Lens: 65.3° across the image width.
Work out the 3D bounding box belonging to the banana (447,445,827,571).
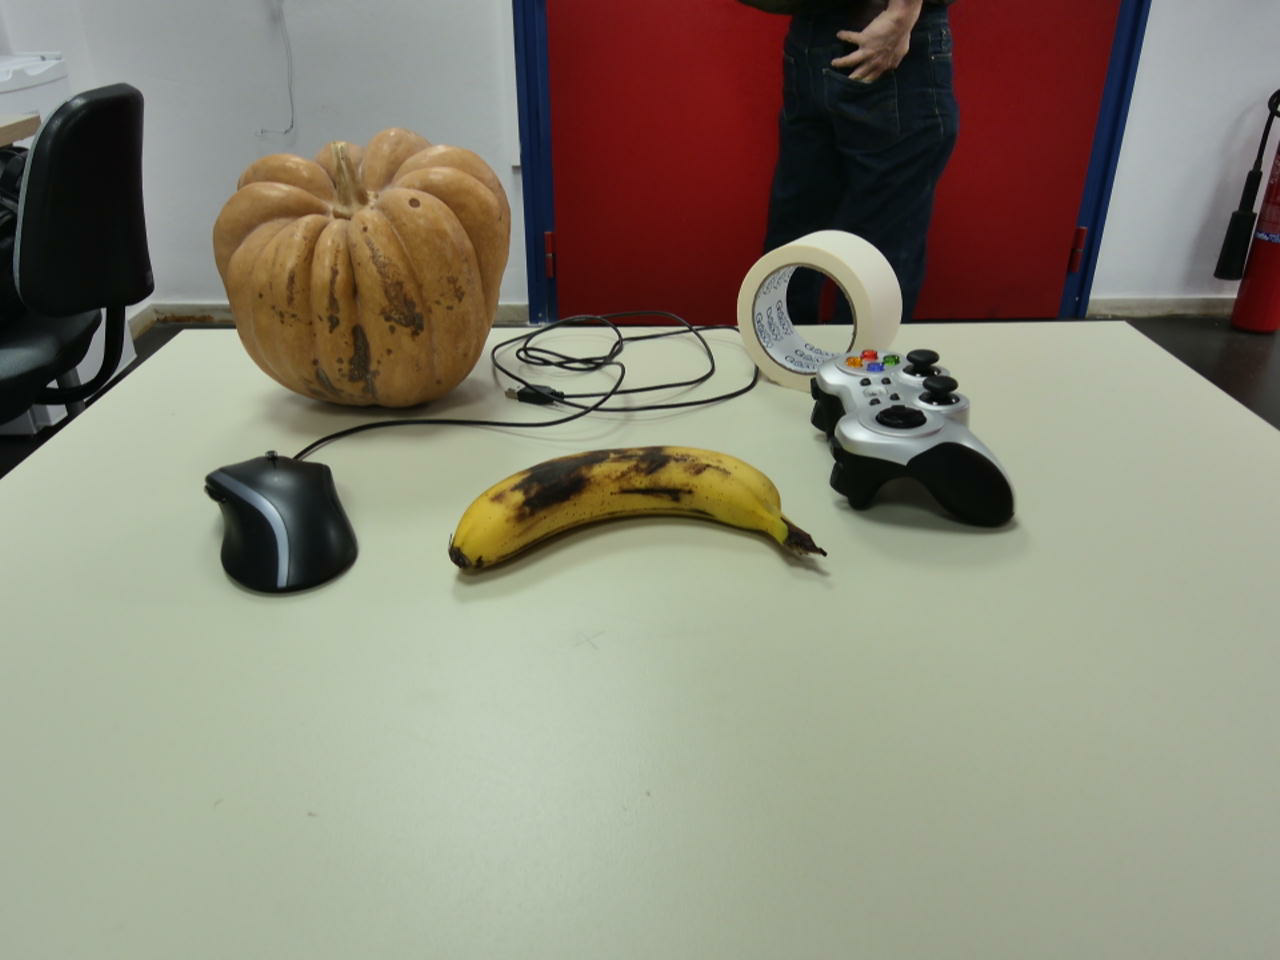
[{"bbox_3d":[-0.004,0.013,0.534,0.187,0.039,0.094,-1,26,-2],"label":"banana"}]
